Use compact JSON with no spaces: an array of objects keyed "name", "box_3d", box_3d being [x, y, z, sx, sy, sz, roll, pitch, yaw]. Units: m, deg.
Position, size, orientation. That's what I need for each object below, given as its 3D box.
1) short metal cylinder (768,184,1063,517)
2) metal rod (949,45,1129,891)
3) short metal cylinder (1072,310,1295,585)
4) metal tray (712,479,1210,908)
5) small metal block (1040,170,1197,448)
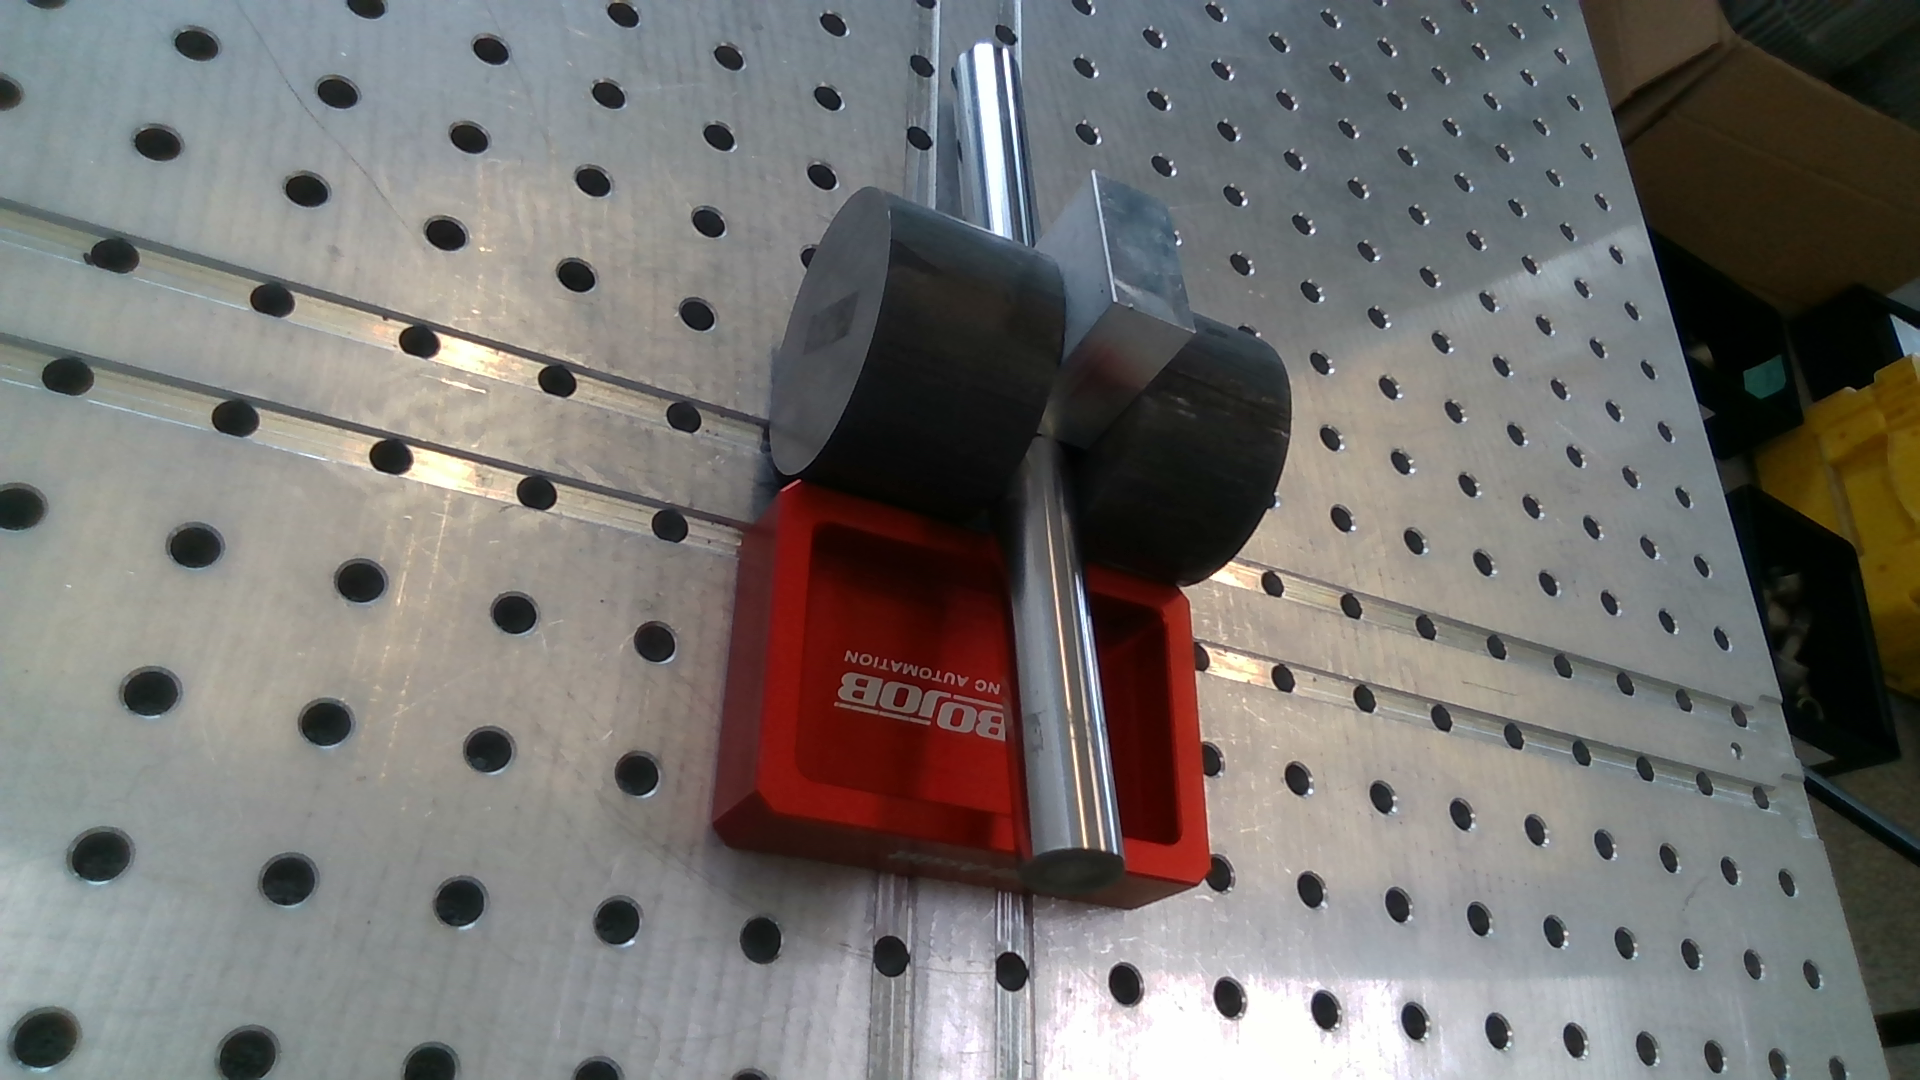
[{"name":"short metal cylinder","box_3d":[-0.014,-0.050,0.378,0.050,0.080,0.080,16,58,-24]},{"name":"metal rod","box_3d":[0.017,-0.045,0.401,0.025,0.025,0.299,15,49,-24]},{"name":"short metal cylinder","box_3d":[0.053,-0.031,0.408,0.050,0.080,0.080,15,58,-24]},{"name":"metal tray","box_3d":[0.004,0.044,0.372,0.130,0.030,0.090,15,58,-24]},{"name":"small metal block","box_3d":[0.035,-0.062,0.374,0.025,0.050,0.050,15,50,-24]}]
